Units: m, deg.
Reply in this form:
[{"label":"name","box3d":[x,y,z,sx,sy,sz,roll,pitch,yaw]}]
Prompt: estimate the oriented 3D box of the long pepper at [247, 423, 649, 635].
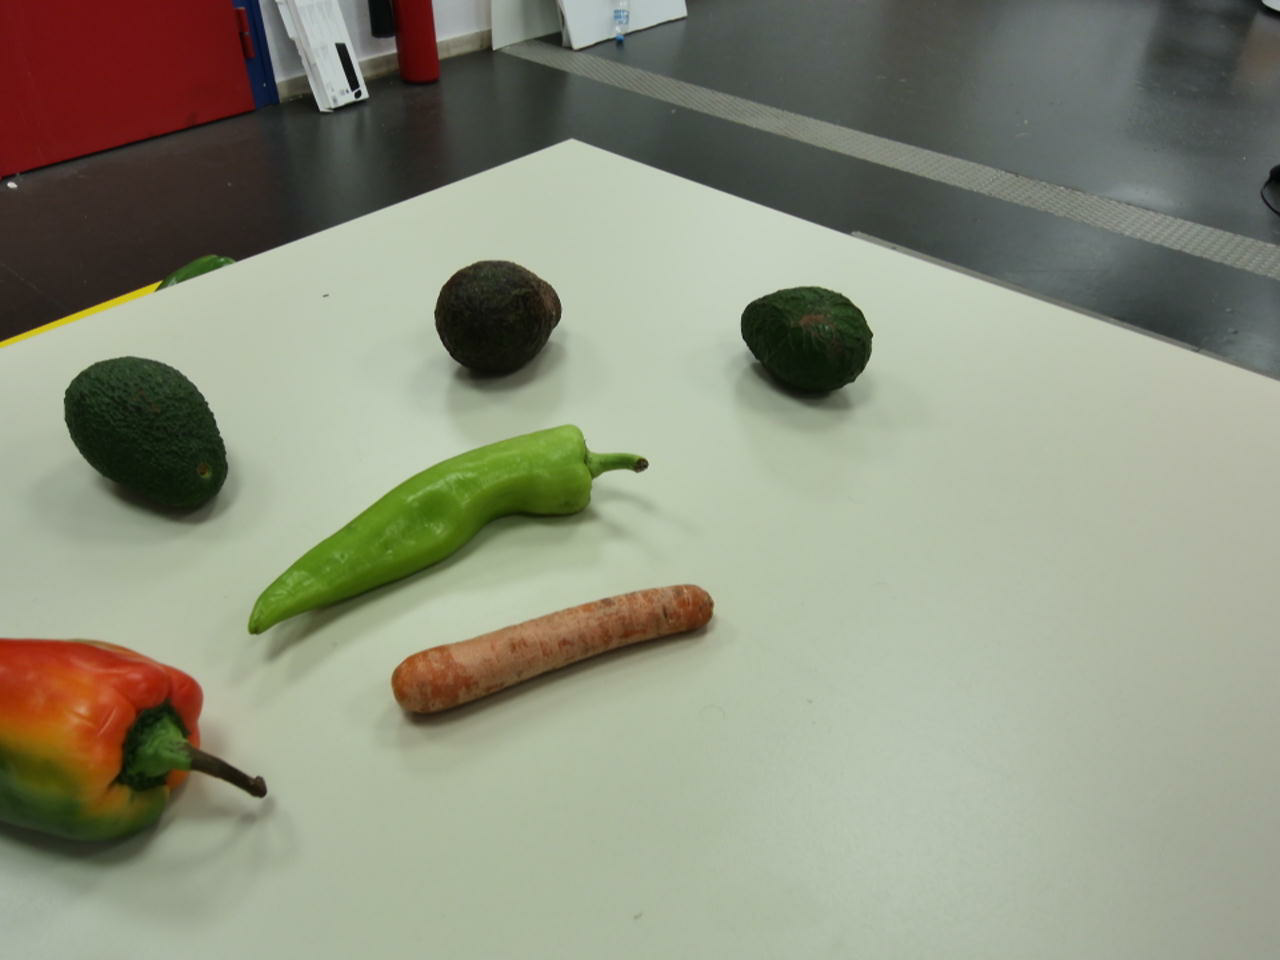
[{"label":"long pepper","box3d":[-0.097,0.017,0.490,0.204,0.045,0.065,-21,42,-27]}]
